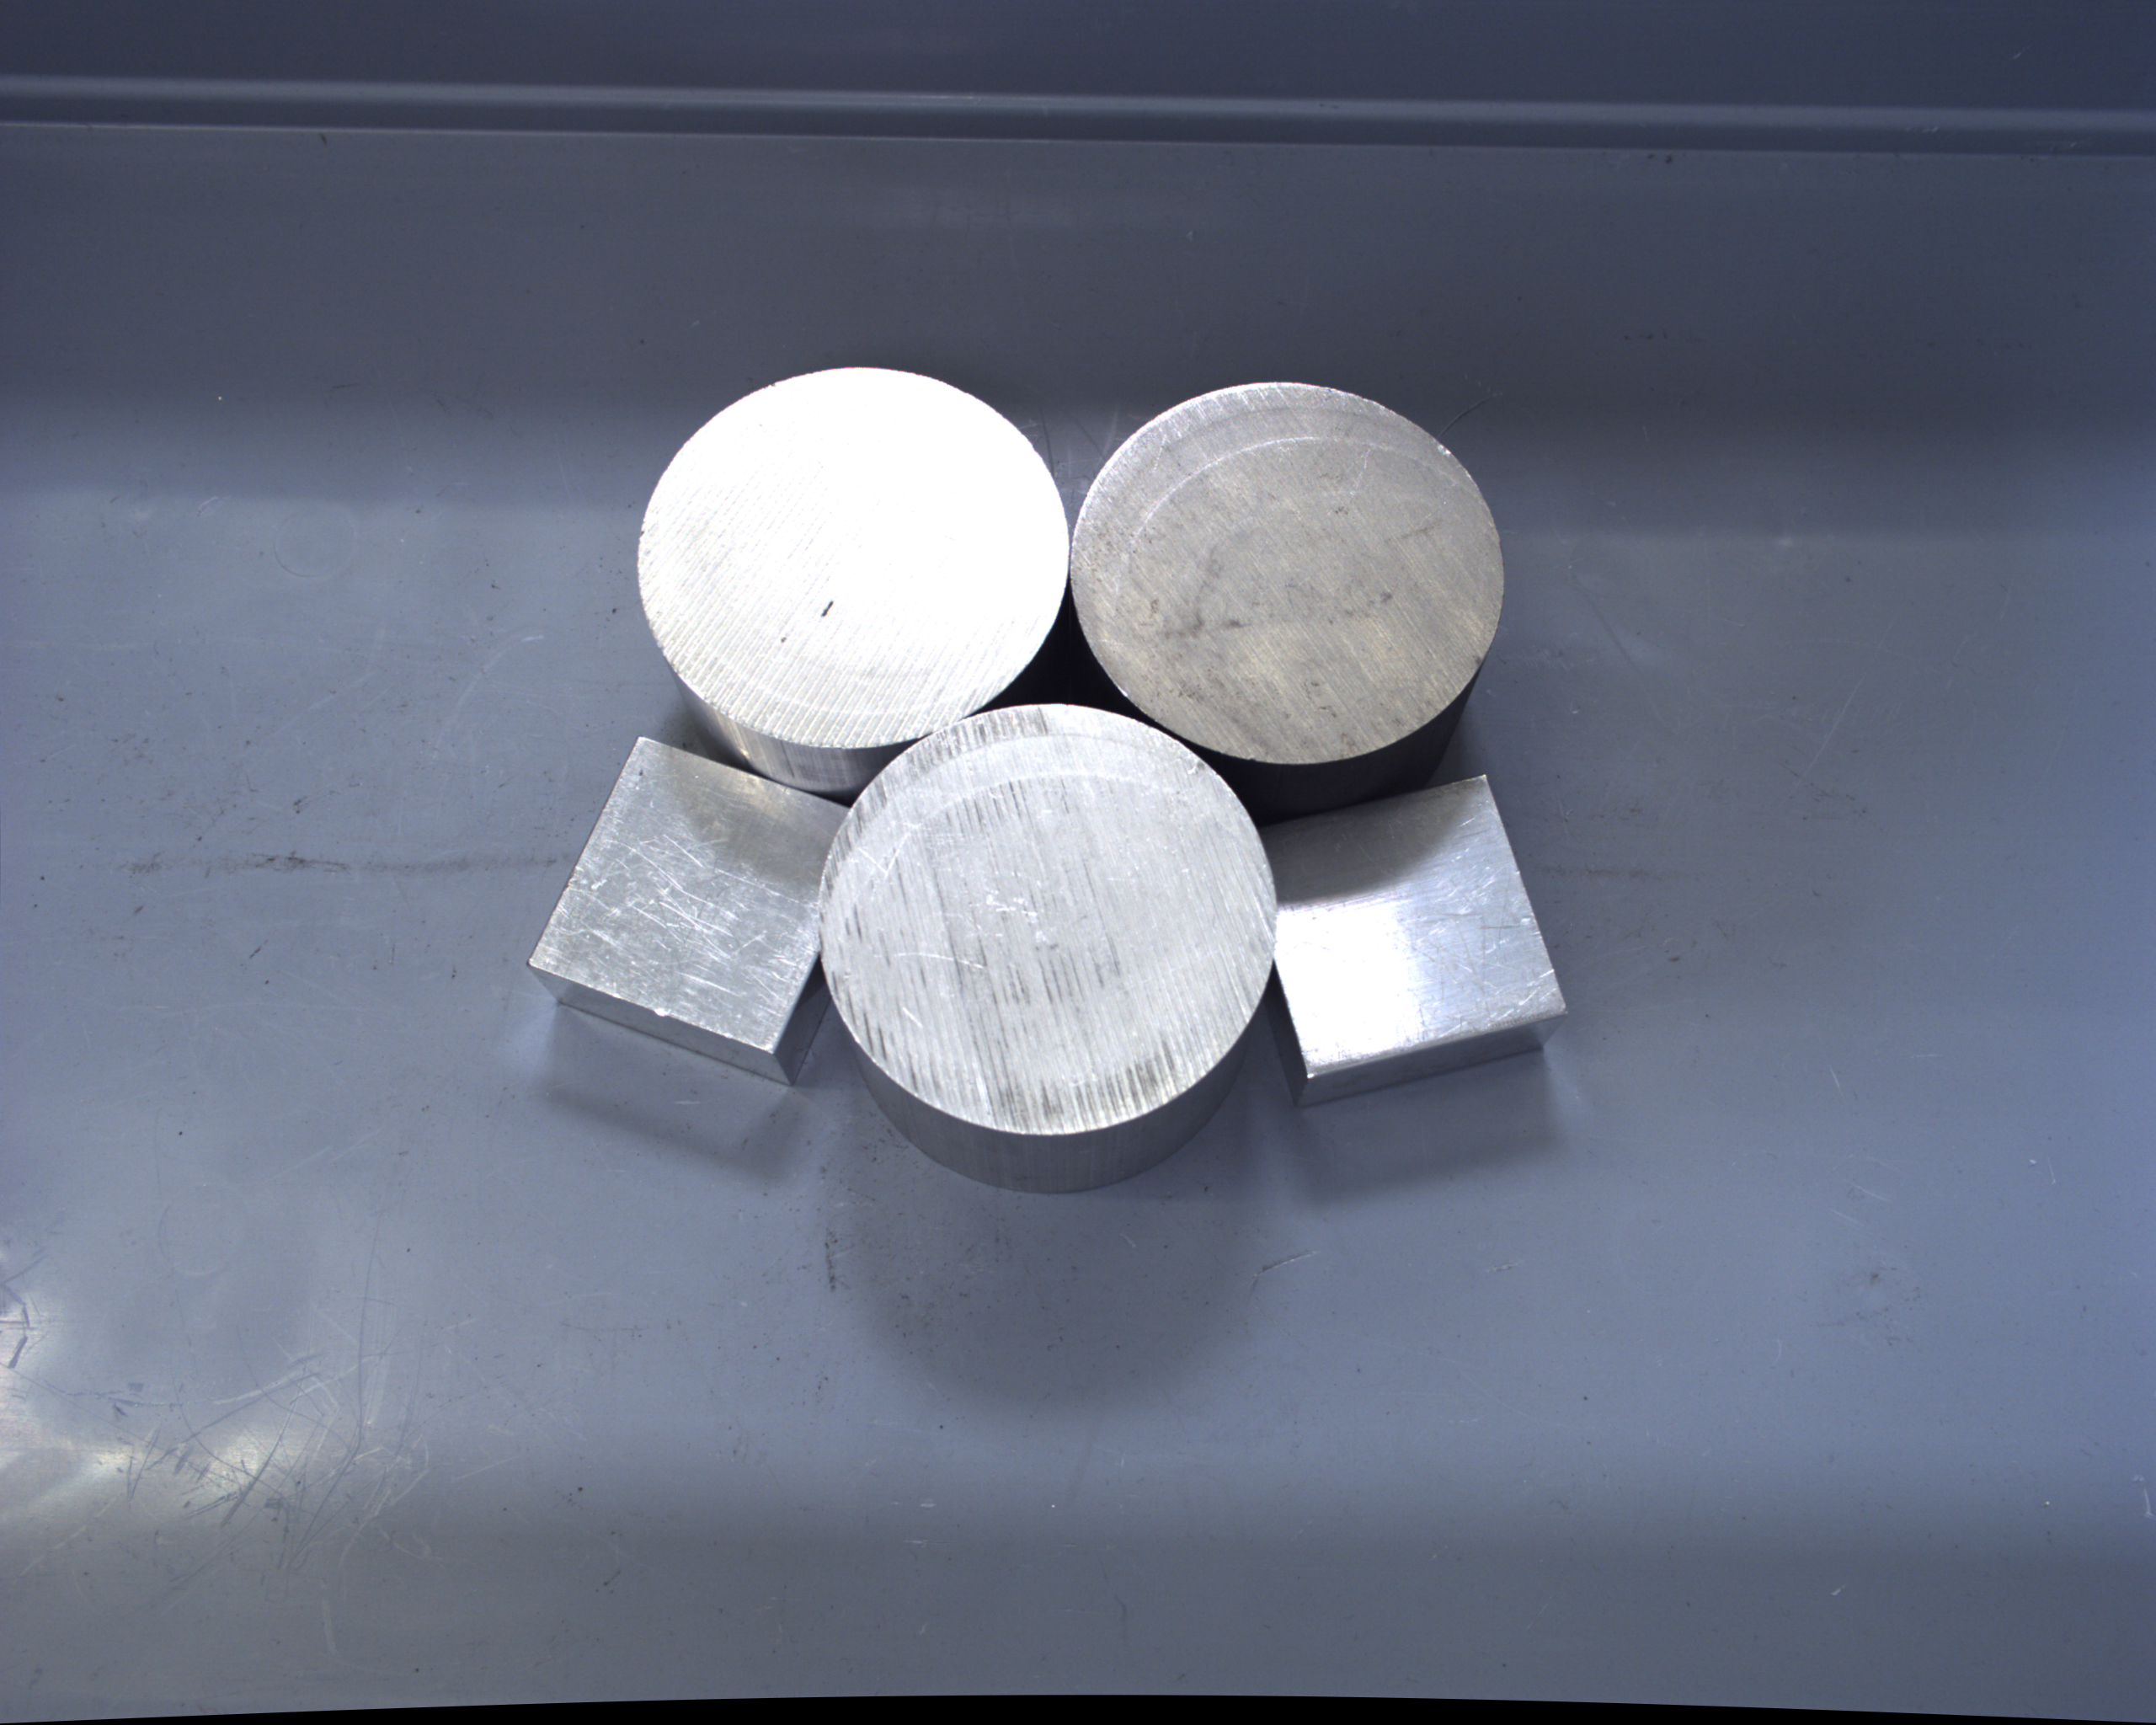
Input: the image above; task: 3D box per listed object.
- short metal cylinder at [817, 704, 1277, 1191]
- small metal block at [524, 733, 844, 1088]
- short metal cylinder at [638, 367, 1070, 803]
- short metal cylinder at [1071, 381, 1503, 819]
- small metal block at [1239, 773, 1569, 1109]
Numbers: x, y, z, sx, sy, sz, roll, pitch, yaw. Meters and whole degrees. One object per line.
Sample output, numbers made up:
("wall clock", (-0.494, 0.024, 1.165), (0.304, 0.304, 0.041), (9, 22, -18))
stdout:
("short metal cylinder", (-0.005, 0.017, 0.388), (0.081, 0.050, 0.080), (0, 70, 0))
("small metal block", (-0.070, 0.009, 0.404), (0.050, 0.025, 0.050), (20, 71, 7))
("short metal cylinder", (-0.042, -0.050, 0.412), (0.081, 0.050, 0.080), (0, 70, 0))
("short metal cylinder", (0.039, -0.047, 0.412), (0.081, 0.050, 0.080), (0, 70, 0))
("small metal block", (0.060, 0.015, 0.403), (0.050, 0.025, 0.050), (-13, 71, -5))
